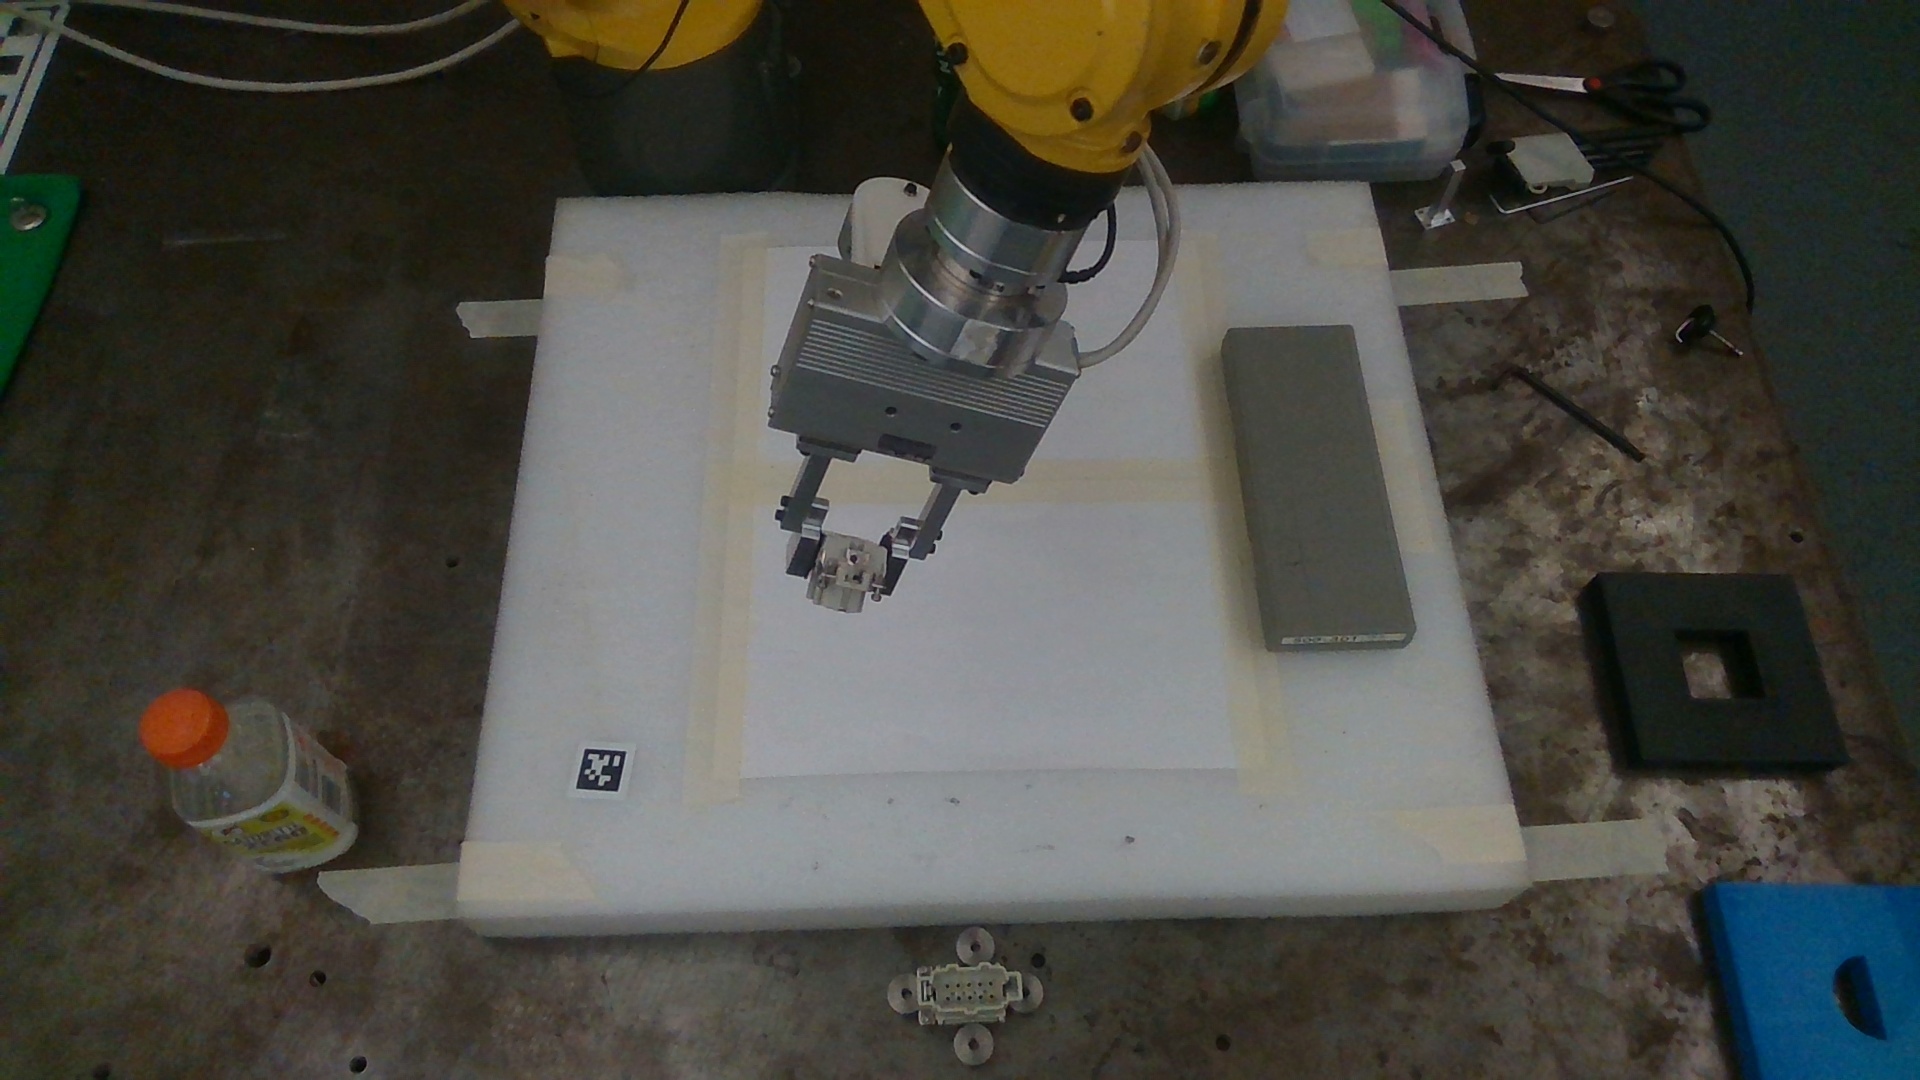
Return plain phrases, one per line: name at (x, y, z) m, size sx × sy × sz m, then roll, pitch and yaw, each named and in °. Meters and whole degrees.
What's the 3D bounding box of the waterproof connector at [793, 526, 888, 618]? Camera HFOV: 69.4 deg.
waterproof connector at (-0.065, 0.017, 0.741) m, size 0.036 × 0.069 × 0.038 m, roll 13°, pitch 96°, yaw -22°
